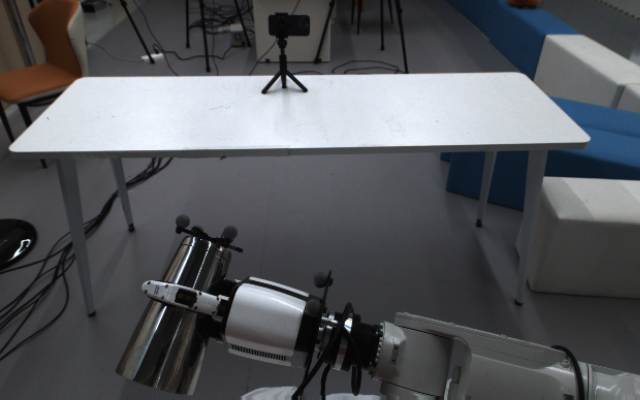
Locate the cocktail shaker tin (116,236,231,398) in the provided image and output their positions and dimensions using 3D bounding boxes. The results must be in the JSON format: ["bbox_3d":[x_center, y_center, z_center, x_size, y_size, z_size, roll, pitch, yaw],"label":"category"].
[{"bbox_3d":[-0.167,0.136,0.585,0.093,0.093,0.170,12,71,15],"label":"cocktail shaker tin"}]
